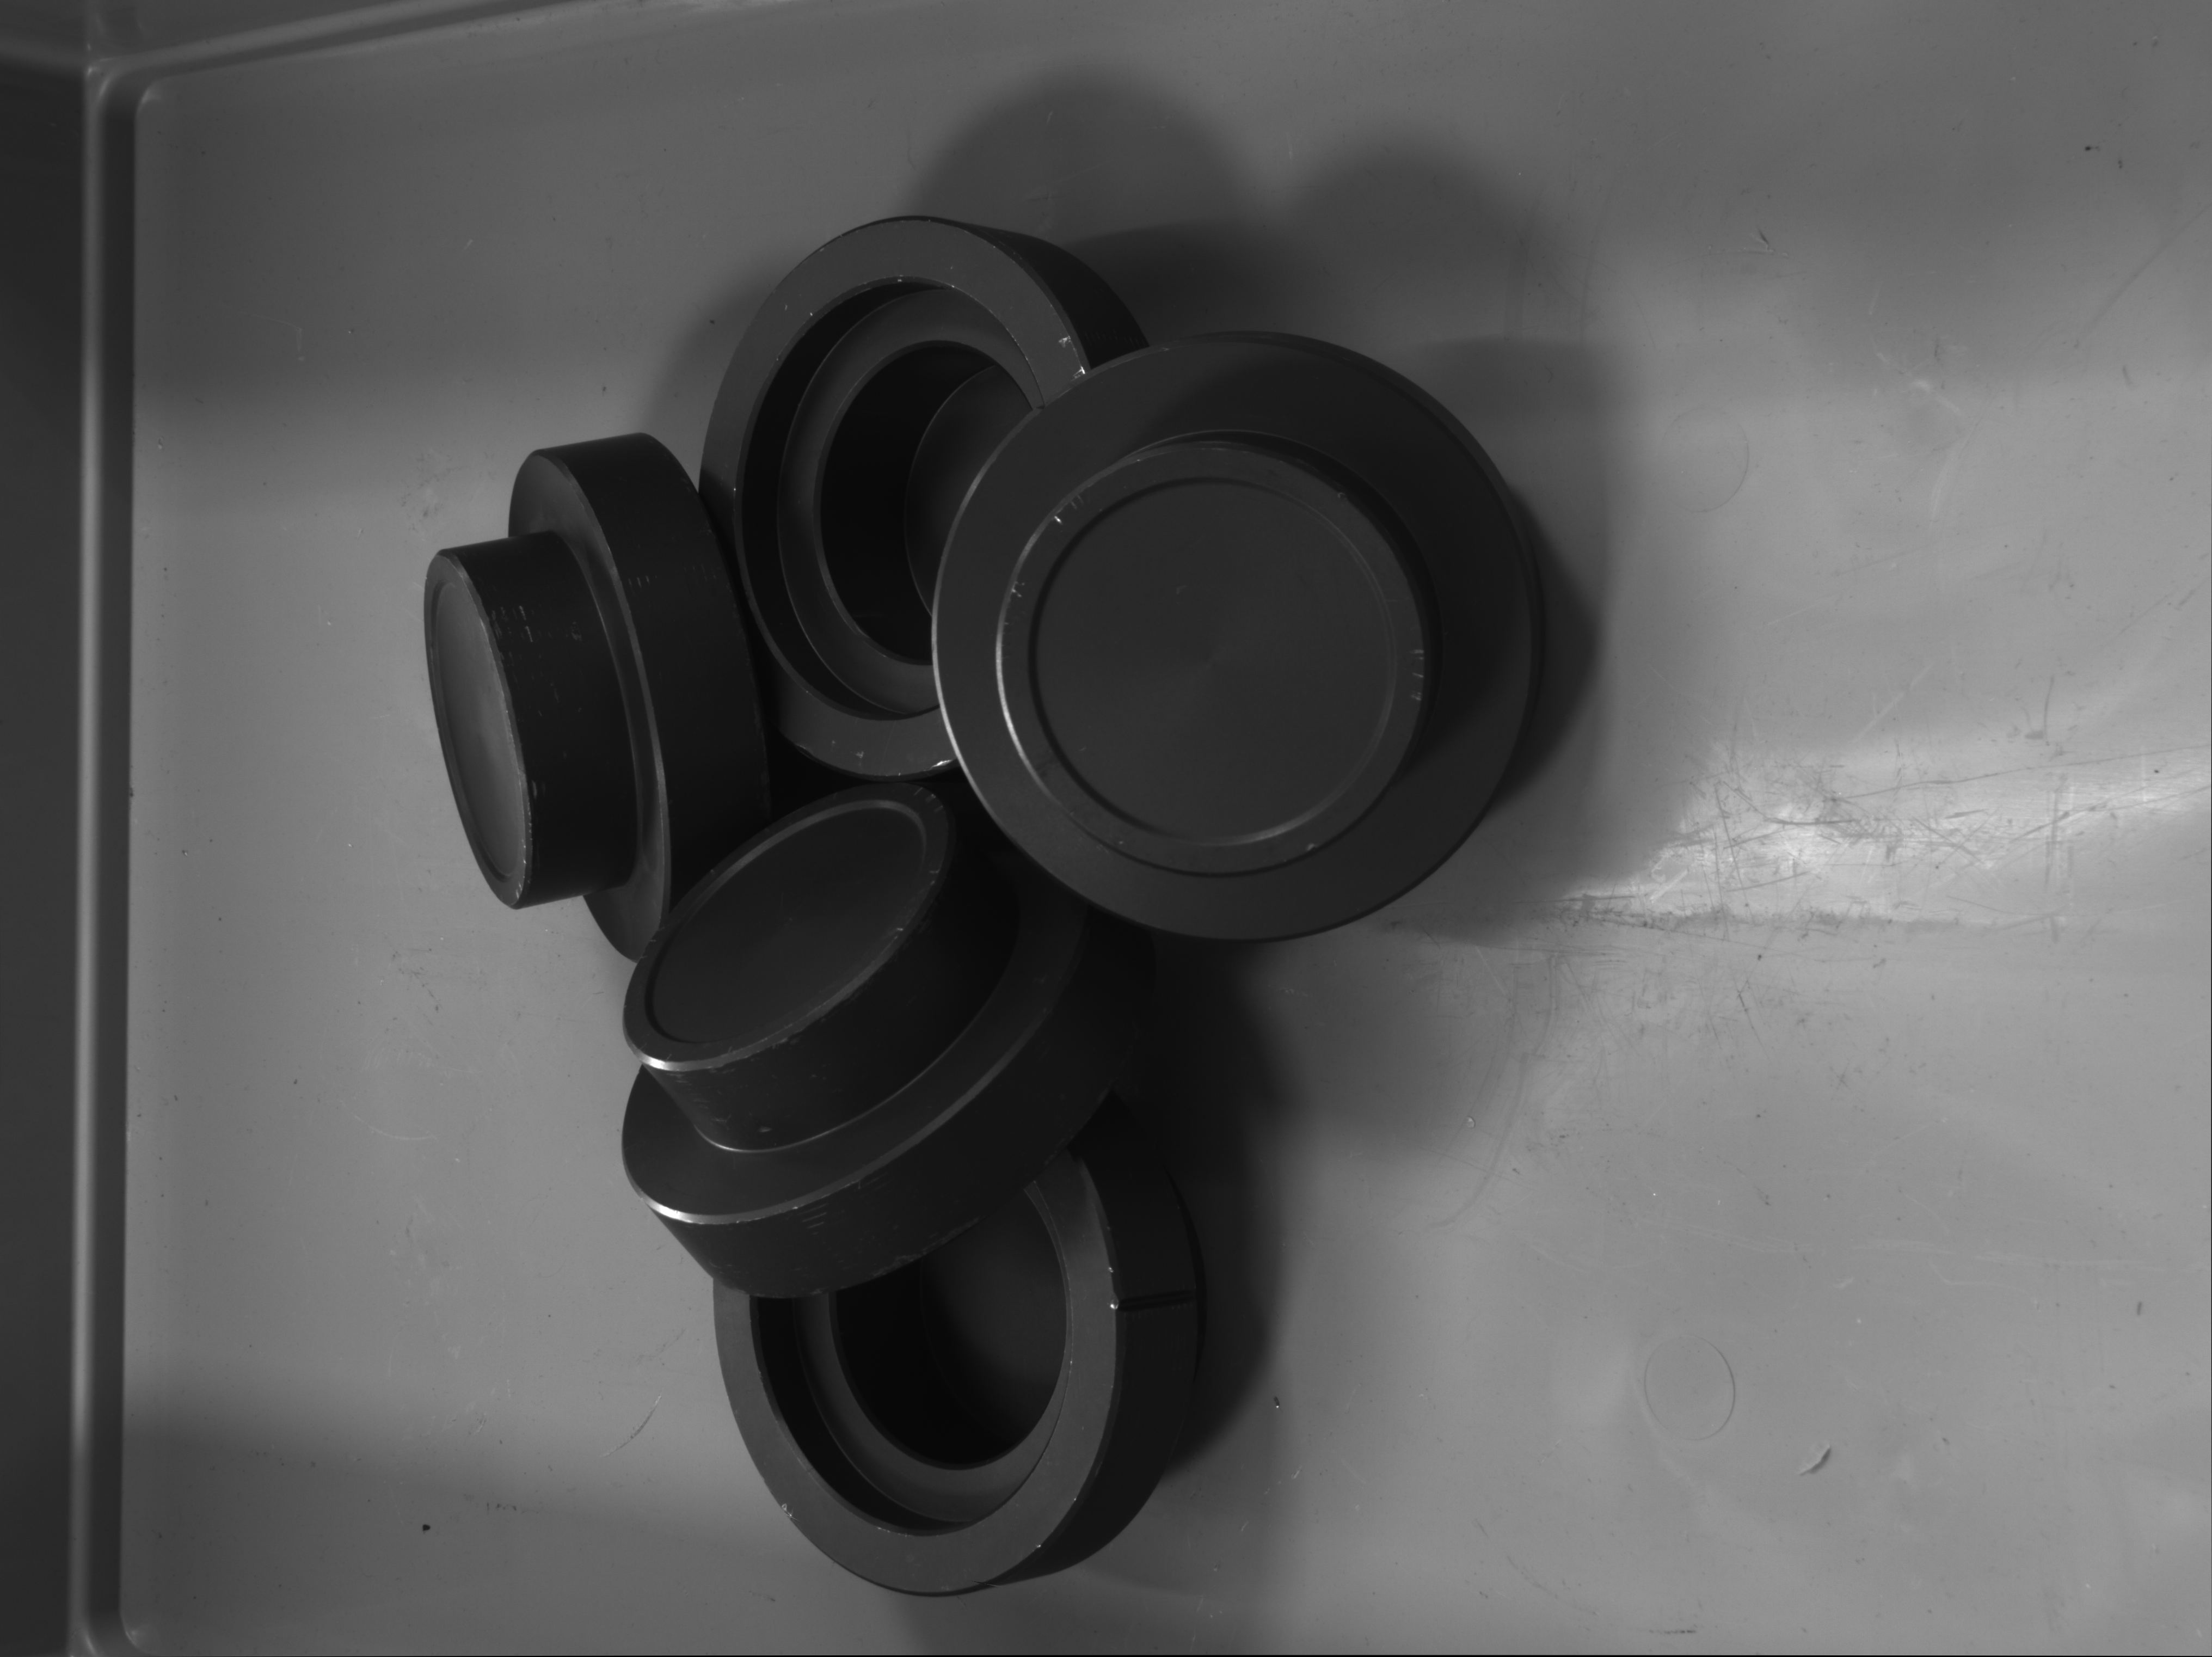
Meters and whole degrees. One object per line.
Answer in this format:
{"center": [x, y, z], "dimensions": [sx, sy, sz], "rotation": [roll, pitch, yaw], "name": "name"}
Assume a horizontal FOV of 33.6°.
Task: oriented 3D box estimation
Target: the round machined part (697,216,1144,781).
{"center": [-0.024, -0.057, 0.652], "dimensions": [0.098, 0.042, 0.098], "rotation": [0, 90, 40], "name": "round machined part"}

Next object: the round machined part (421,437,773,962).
{"center": [-0.099, -0.022, 0.687], "dimensions": [0.098, 0.042, 0.098], "rotation": [168, 90, -69], "name": "round machined part"}

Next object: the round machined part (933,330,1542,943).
{"center": [0.020, -0.029, 0.586], "dimensions": [0.098, 0.042, 0.098], "rotation": [2, 101, 9], "name": "round machined part"}

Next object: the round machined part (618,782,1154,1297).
{"center": [-0.044, 0.030, 0.632], "dimensions": [0.098, 0.098, 0.042], "rotation": [-9, 129, 40], "name": "round machined part"}

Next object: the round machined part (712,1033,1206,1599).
{"center": [-0.021, 0.084, 0.649], "dimensions": [0.098, 0.042, 0.098], "rotation": [0, 90, 40], "name": "round machined part"}
